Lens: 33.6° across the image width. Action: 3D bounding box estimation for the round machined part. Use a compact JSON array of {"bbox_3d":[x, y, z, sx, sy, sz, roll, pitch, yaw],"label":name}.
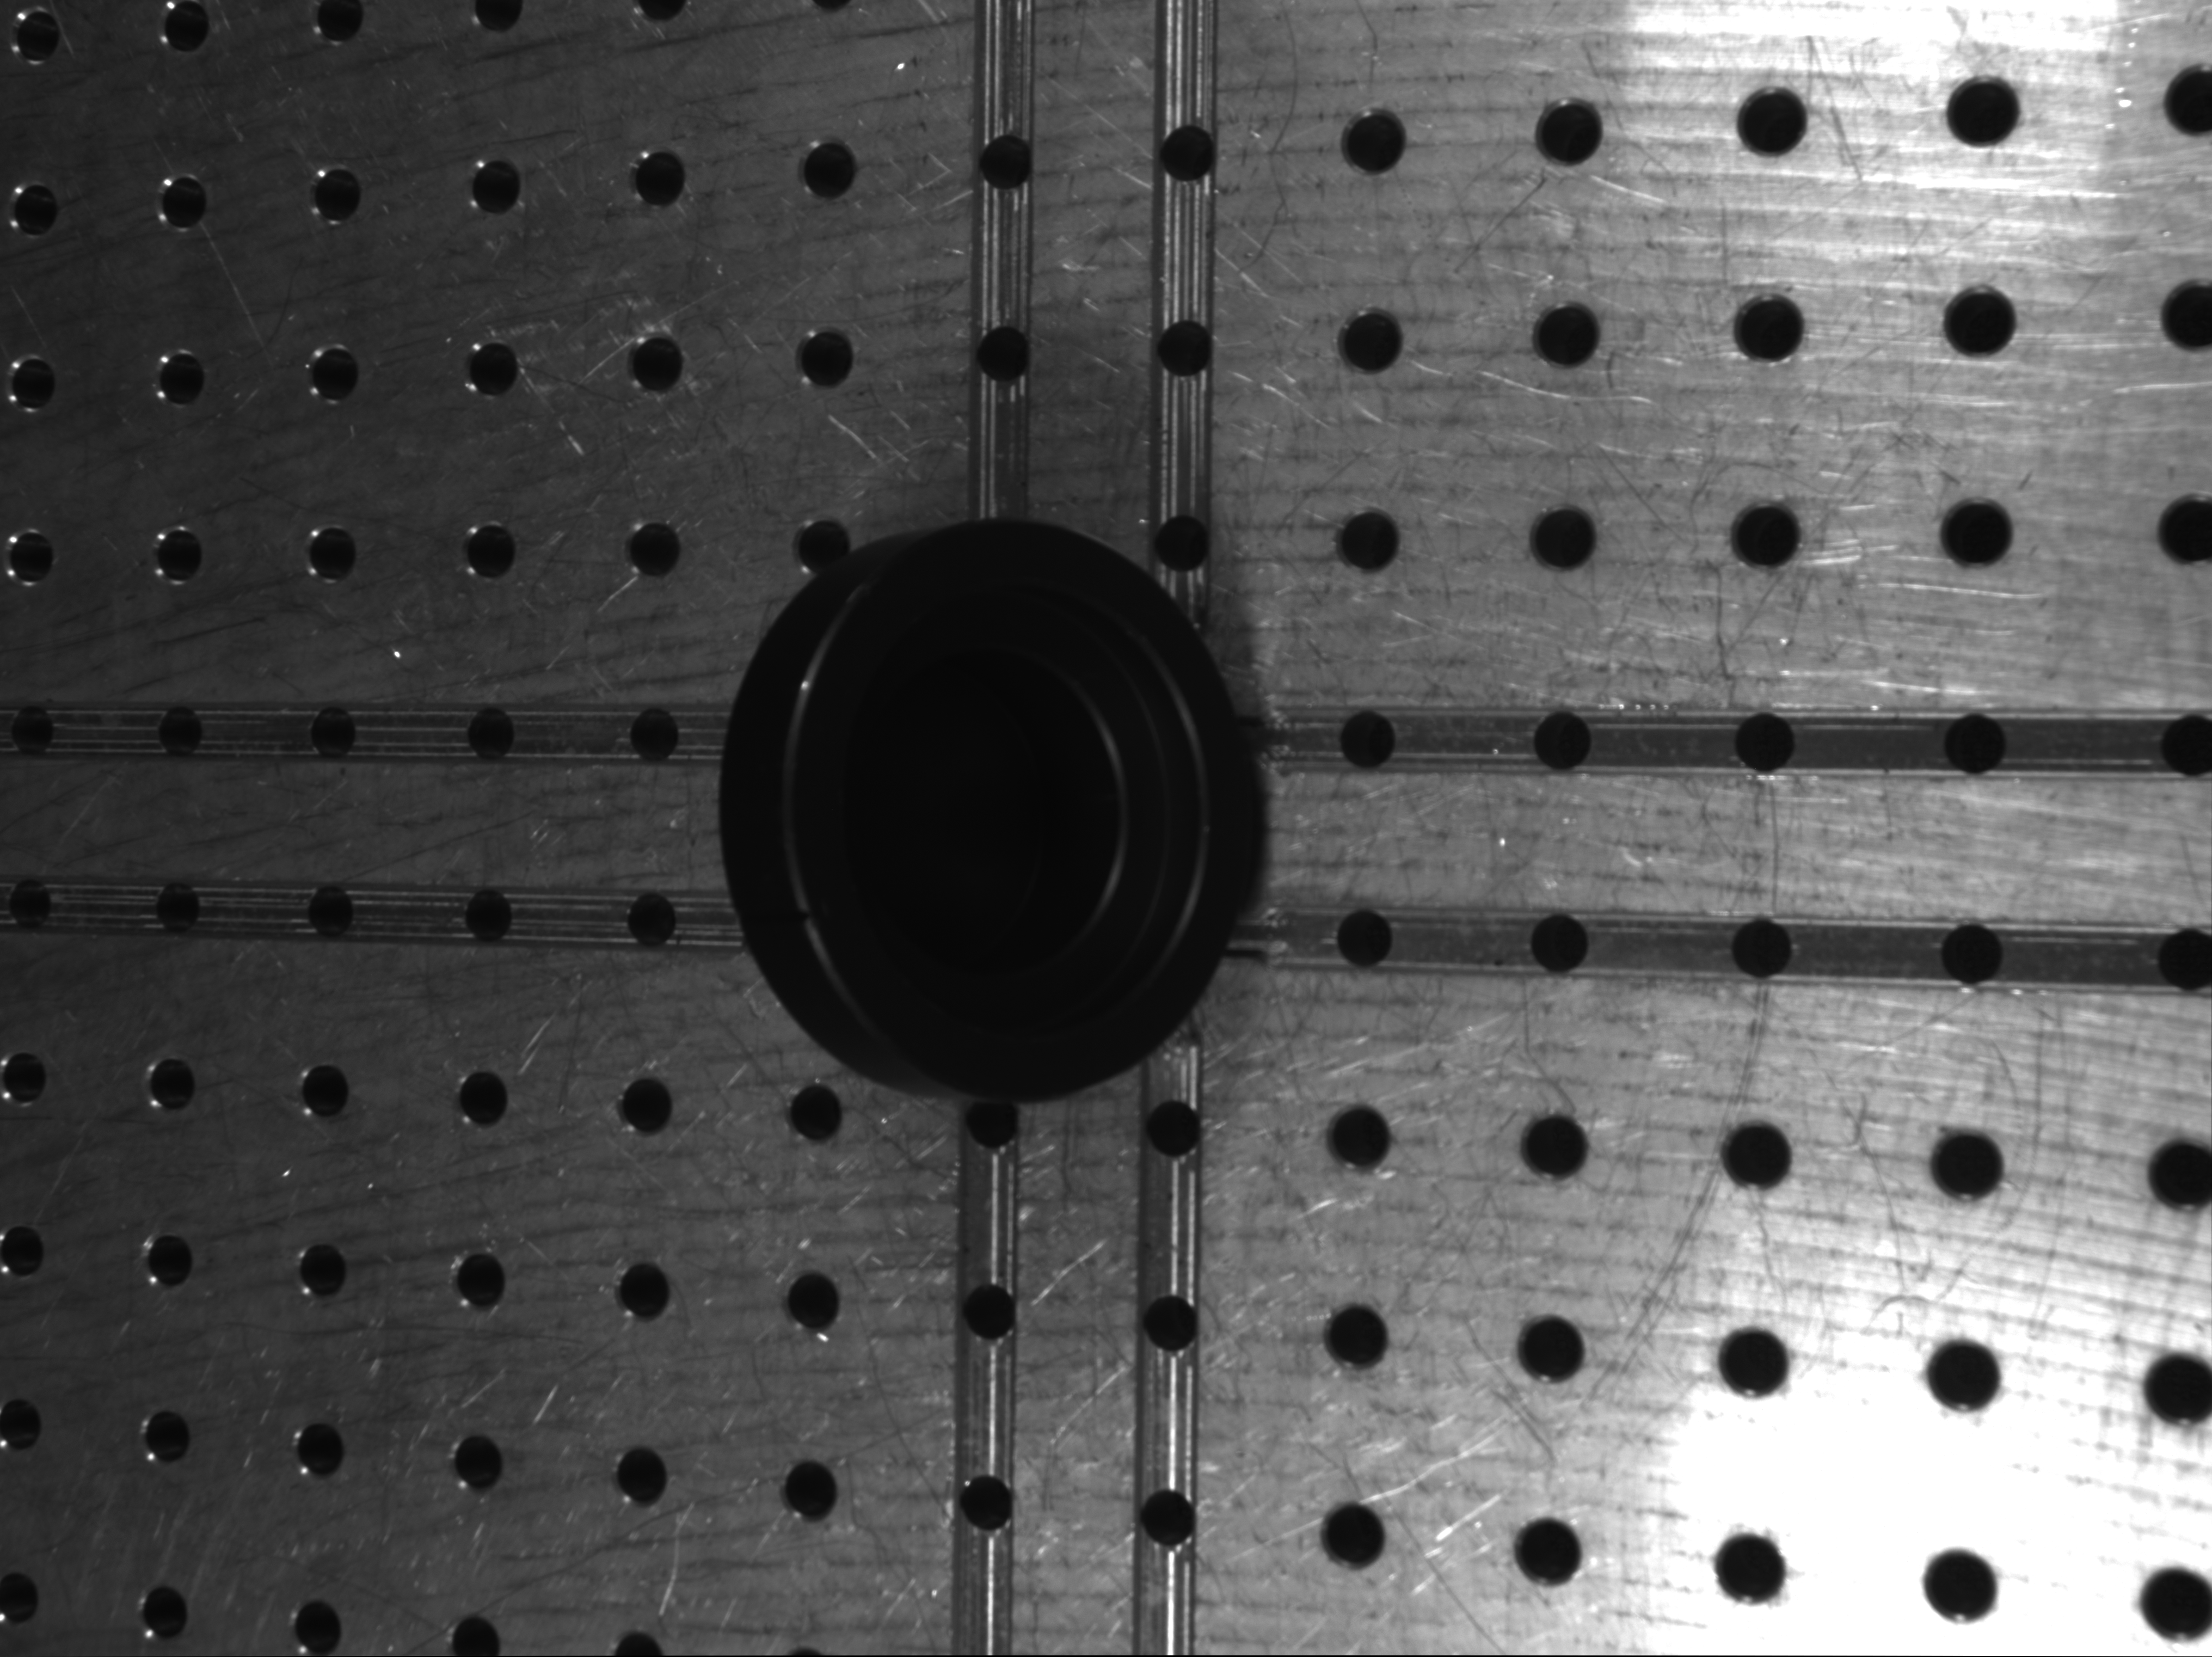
[{"bbox_3d":[-0.026,-0.002,0.627,0.042,0.098,0.098,-4,88,51],"label":"round machined part"}]
